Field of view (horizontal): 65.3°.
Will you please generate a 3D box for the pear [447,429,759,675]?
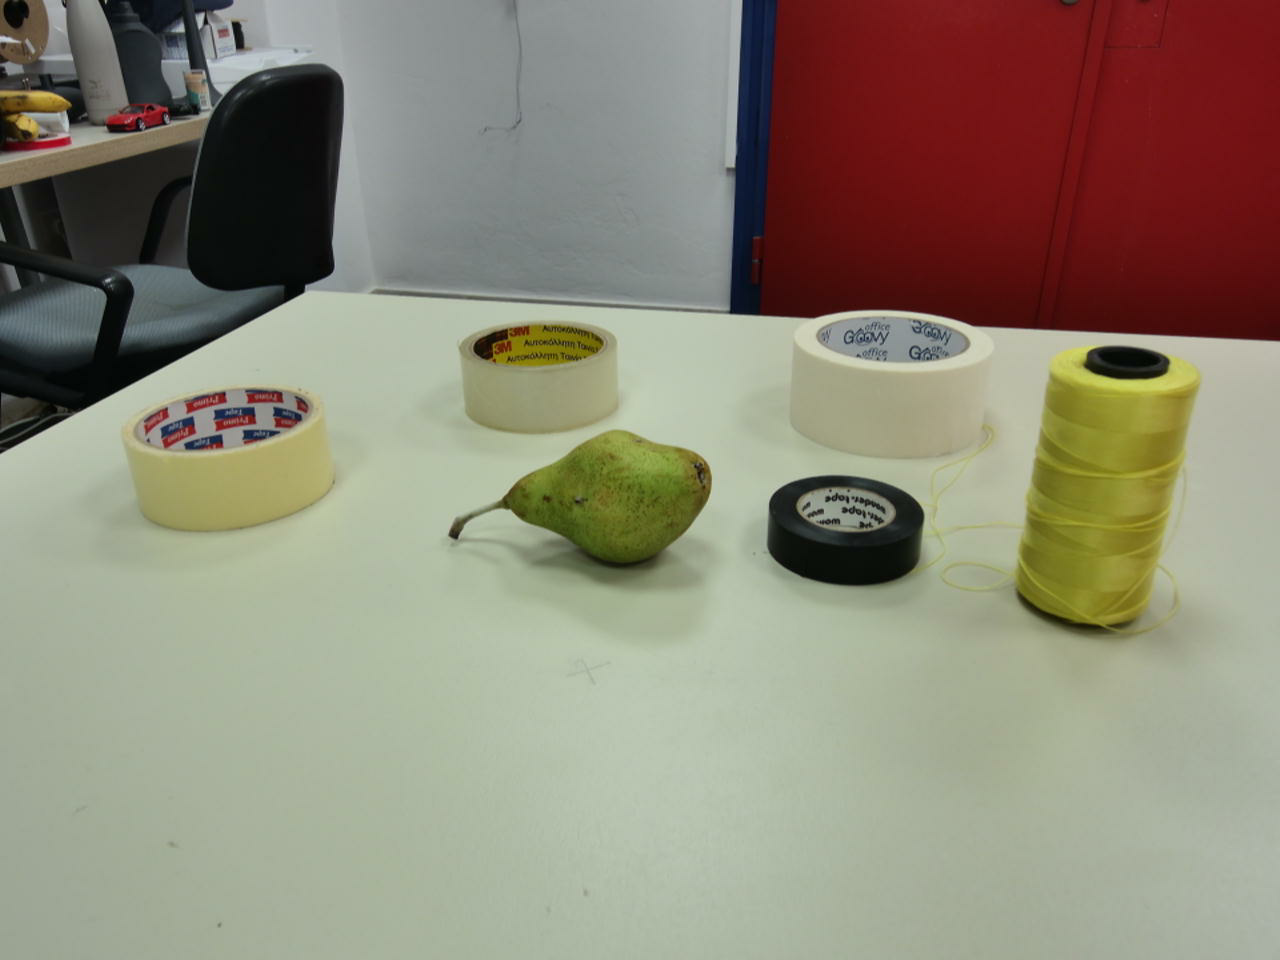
[{"bbox_3d":[-0.024,0.004,0.432,0.111,0.056,0.056,12,27,26],"label":"pear"}]
